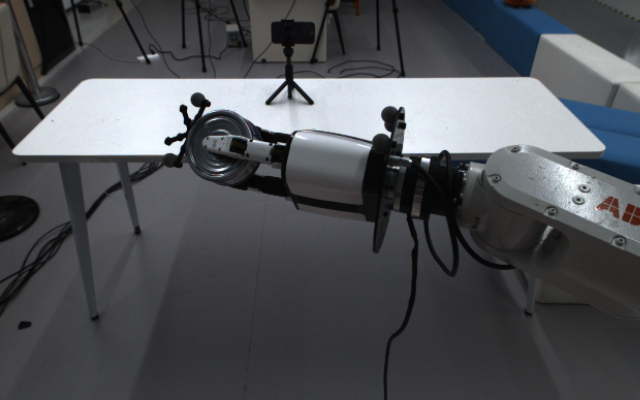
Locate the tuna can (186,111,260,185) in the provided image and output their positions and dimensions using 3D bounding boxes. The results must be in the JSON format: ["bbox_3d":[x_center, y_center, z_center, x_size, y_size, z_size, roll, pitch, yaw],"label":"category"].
[{"bbox_3d":[-0.108,-0.056,0.563,0.085,0.085,0.034,12,-4,14],"label":"tuna can"}]
